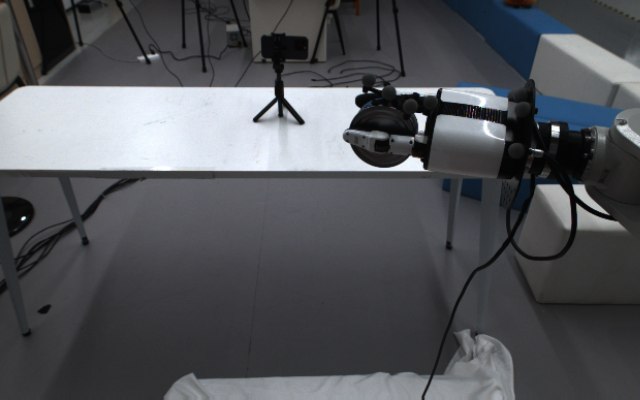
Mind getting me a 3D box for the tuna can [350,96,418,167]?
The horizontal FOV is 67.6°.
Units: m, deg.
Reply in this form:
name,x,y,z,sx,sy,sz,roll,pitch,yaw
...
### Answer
name,x,y,z,sx,sy,sz,roll,pitch,yaw
tuna can,0.083,-0.089,0.624,0.085,0.085,0.034,12,33,14
